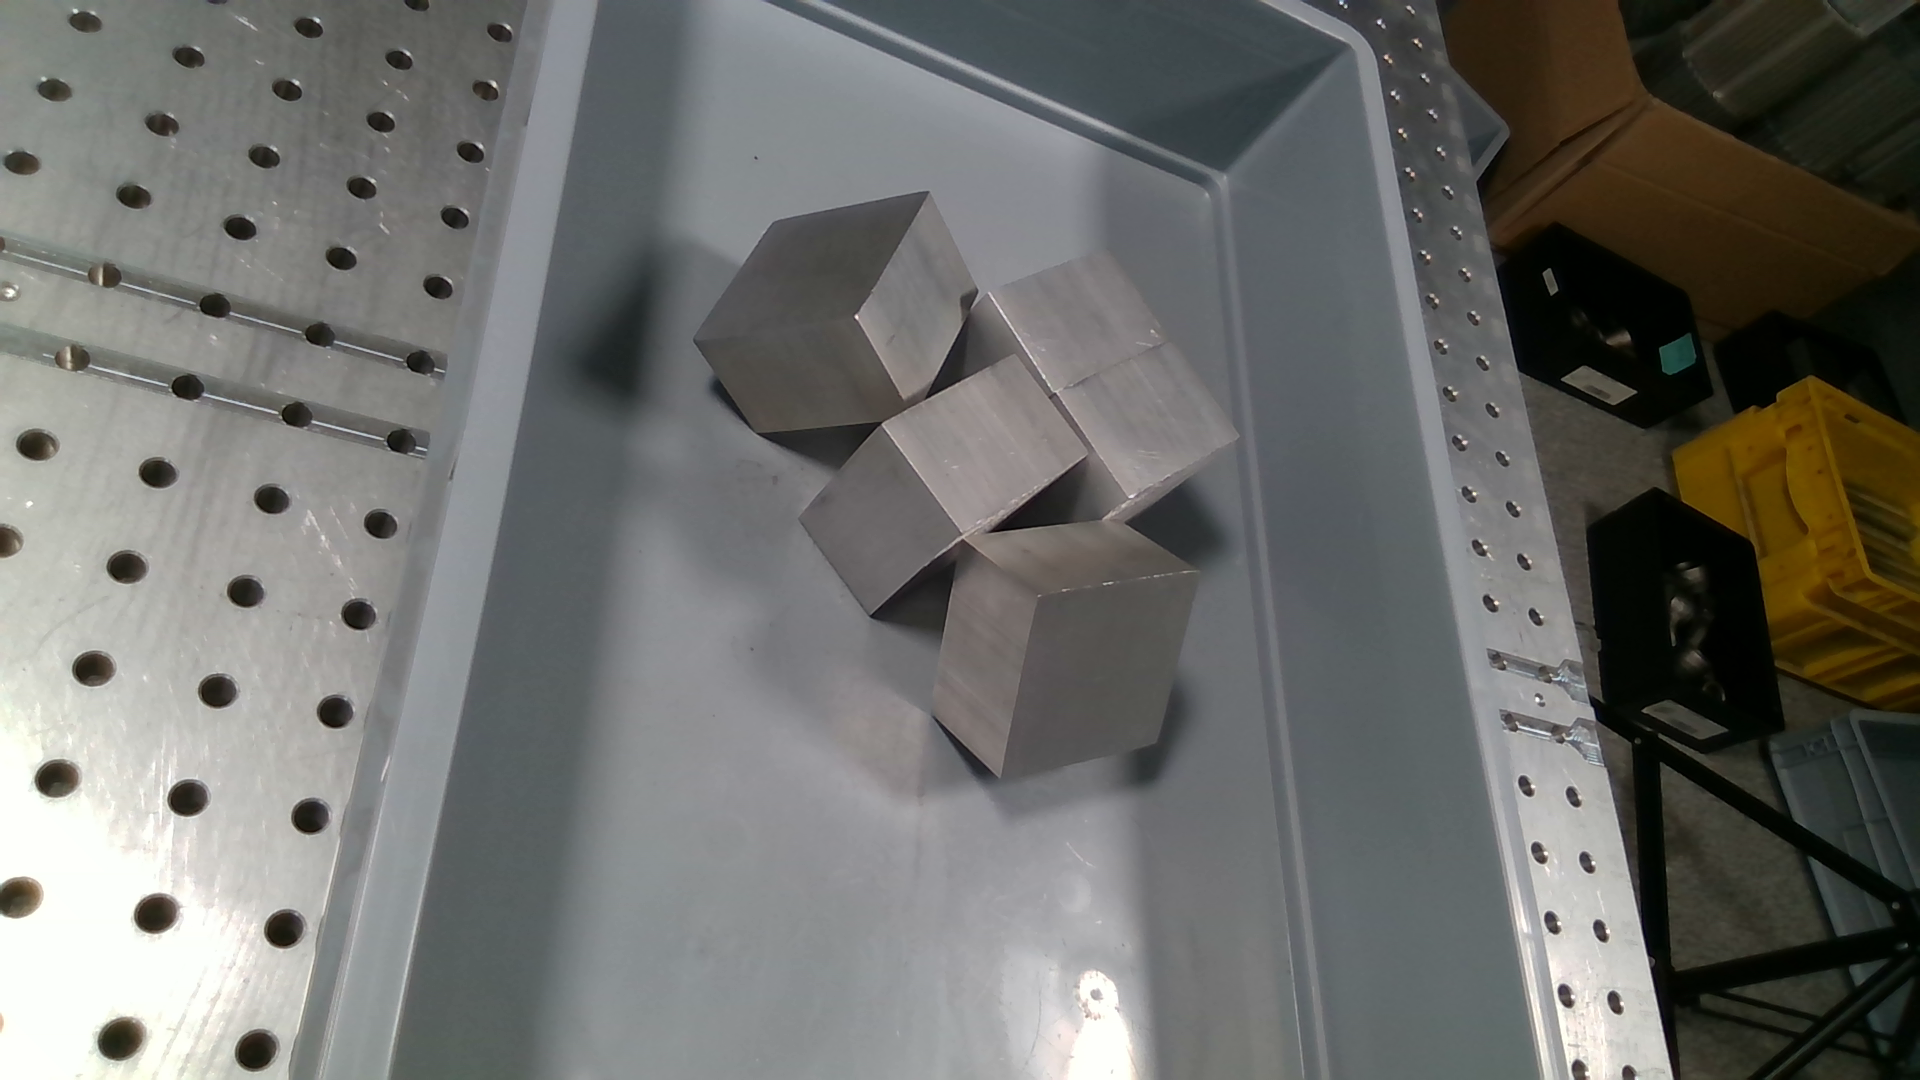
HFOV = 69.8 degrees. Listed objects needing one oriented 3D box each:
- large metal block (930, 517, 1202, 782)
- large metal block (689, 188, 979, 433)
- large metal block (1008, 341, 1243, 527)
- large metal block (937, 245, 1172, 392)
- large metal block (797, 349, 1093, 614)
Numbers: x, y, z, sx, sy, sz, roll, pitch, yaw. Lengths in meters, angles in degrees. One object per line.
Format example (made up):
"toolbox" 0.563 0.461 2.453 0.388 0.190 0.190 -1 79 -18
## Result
"large metal block" 0.040 0.041 0.544 0.080 0.080 0.050 -7 29 -34
"large metal block" -0.049 -0.092 0.560 0.050 0.080 0.080 59 41 -38
"large metal block" 0.063 -0.035 0.606 0.080 0.080 0.050 -29 82 -39
"large metal block" 0.032 -0.078 0.612 0.080 0.080 0.050 -27 81 -38
"large metal block" -0.007 -0.023 0.557 0.080 0.080 0.050 -32 84 -39
